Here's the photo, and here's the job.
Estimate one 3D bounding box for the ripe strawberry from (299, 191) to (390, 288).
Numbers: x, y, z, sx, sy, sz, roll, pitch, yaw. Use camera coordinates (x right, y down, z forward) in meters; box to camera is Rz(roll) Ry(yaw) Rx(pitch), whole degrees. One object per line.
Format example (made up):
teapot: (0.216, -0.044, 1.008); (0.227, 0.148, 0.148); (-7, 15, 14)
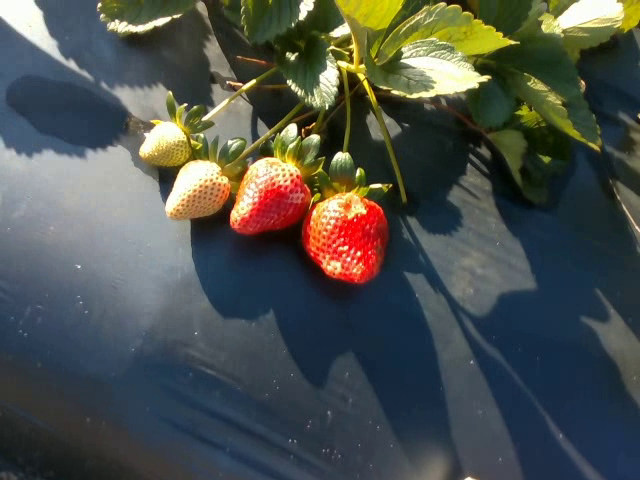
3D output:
ripe strawberry: (0.018, 0.003, 0.321); (0.057, 0.067, 0.051); (-20, -43, 7)

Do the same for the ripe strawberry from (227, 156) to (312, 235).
ripe strawberry: (-0.030, -0.022, 0.323); (0.061, 0.050, 0.044); (-45, 12, -34)
